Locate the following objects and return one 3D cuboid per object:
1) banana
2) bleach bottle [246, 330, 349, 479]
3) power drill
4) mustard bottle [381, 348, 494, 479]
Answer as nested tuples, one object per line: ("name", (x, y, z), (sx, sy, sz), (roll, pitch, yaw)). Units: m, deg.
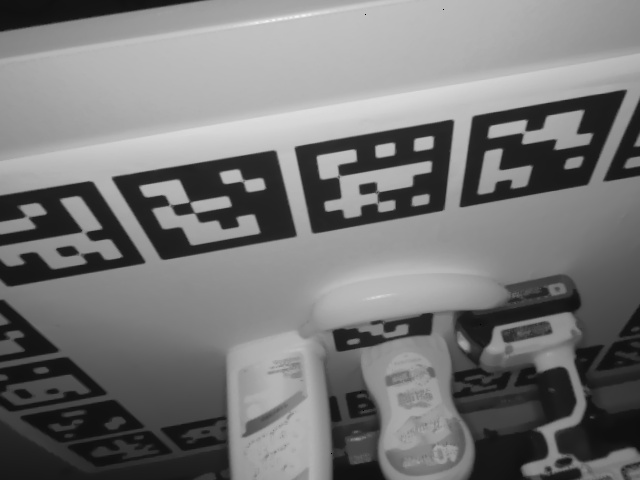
("banana", (0.087, 0.062, 0.622), (0.198, 0.039, 0.073), (-10, 138, -3))
("bleach bottle", (-0.013, 0.210, 0.630), (0.102, 0.252, 0.068), (-15, 140, 8))
("power drill", (0.215, 0.164, 0.627), (0.184, 0.188, 0.057), (-10, 148, 5))
("mustard bottle", (0.121, 0.204, 0.687), (0.096, 0.192, 0.058), (-9, 142, 2))
